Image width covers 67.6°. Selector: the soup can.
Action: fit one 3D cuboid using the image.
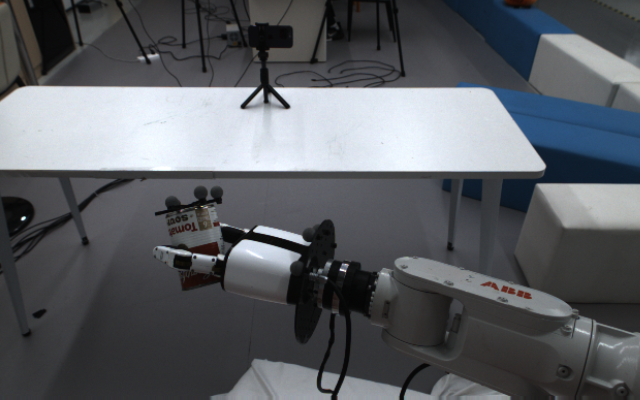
[{"bbox_3d":[-0.160,0.064,0.643,0.067,0.101,0.067,-14,-2,-1],"label":"soup can"}]
